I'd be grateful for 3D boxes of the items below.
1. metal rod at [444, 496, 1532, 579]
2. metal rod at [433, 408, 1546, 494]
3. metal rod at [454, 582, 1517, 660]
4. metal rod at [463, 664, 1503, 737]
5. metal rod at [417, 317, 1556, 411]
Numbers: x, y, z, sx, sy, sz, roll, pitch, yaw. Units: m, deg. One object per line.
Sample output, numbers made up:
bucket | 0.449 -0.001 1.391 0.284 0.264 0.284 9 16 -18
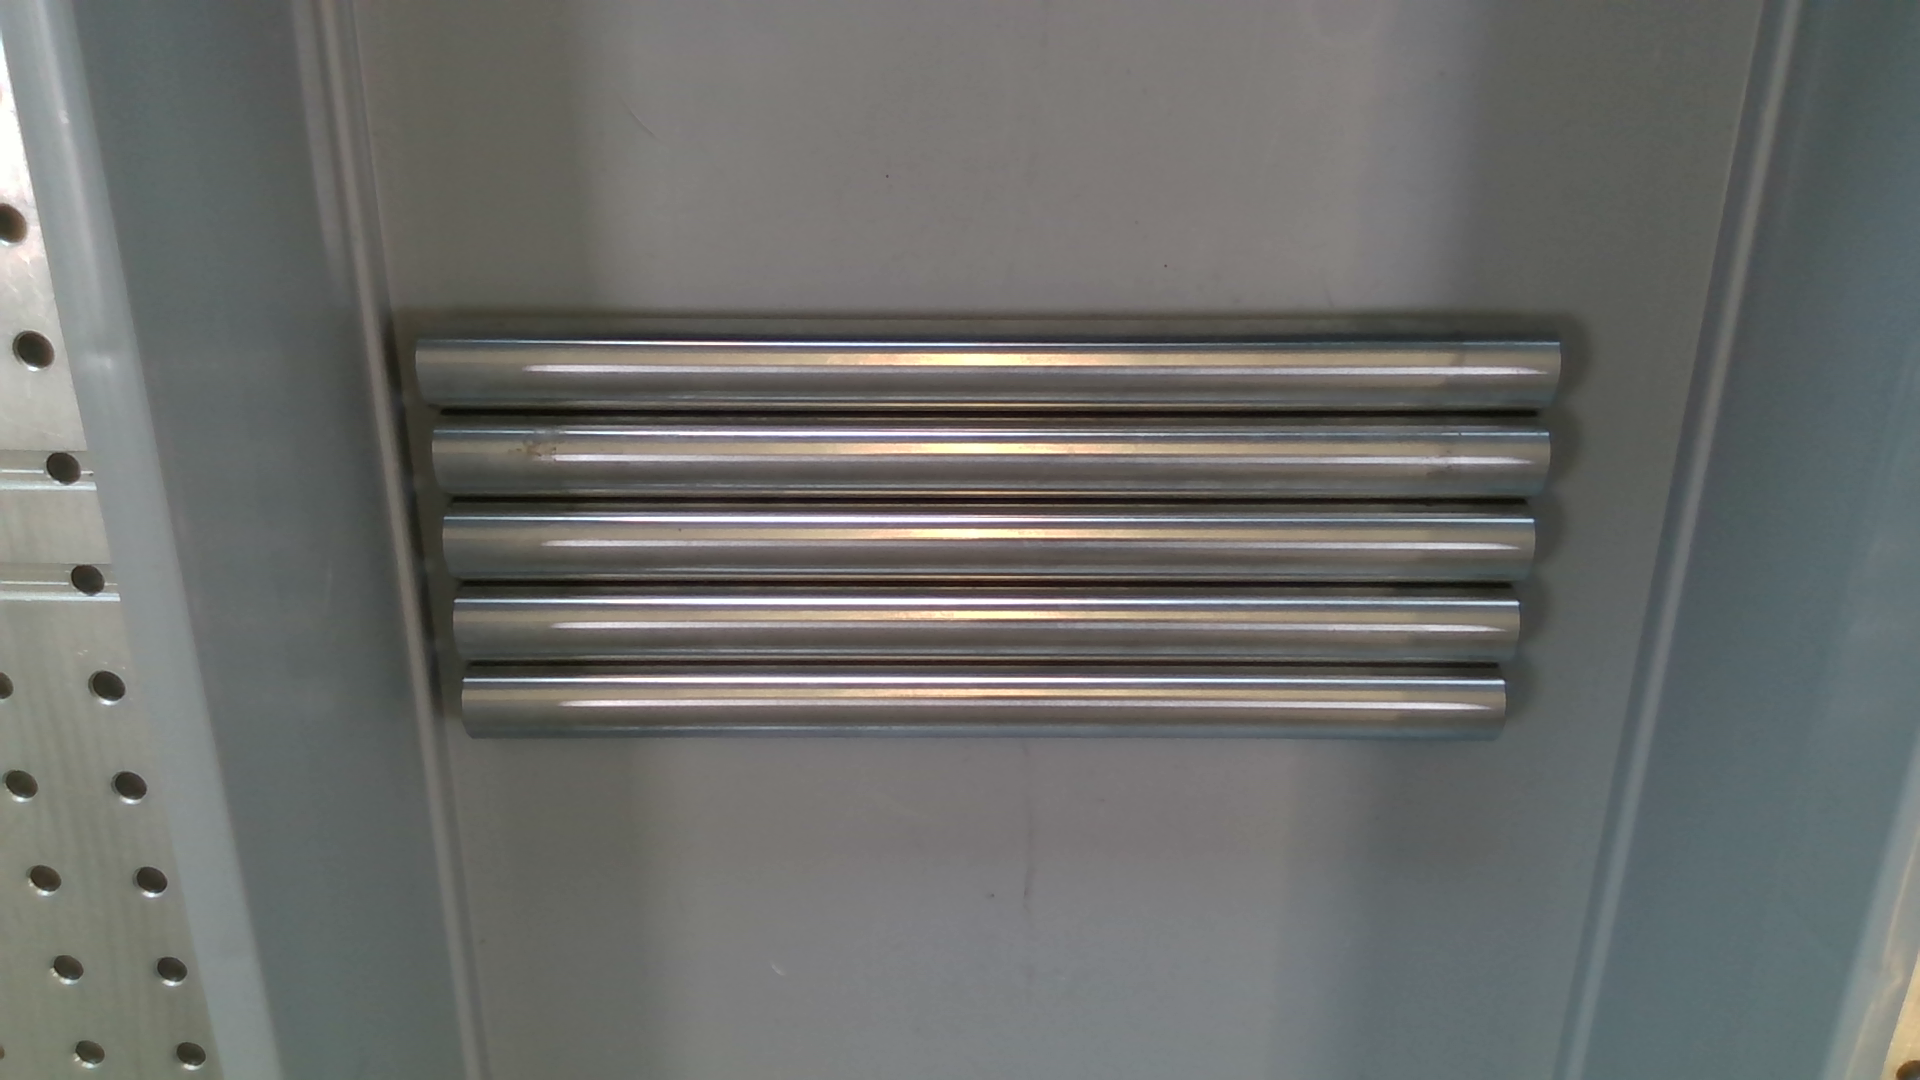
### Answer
metal rod | 0.008 -0.002 0.392 0.300 0.025 0.025 0 110 0
metal rod | 0.008 -0.026 0.383 0.300 0.025 0.025 0 110 0
metal rod | 0.007 0.022 0.401 0.300 0.025 0.025 0 110 0
metal rod | 0.007 0.046 0.410 0.300 0.025 0.025 0 110 0
metal rod | 0.007 -0.048 0.375 0.300 0.025 0.025 0 110 0
